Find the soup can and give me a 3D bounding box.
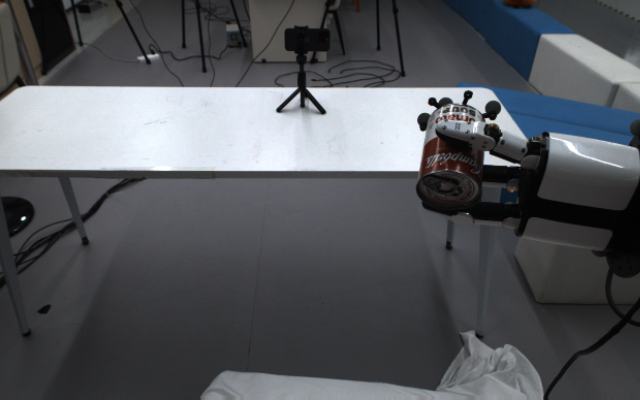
[{"bbox_3d":[0.148,-0.050,0.538,0.067,0.067,0.101,9,56,10],"label":"soup can"}]
